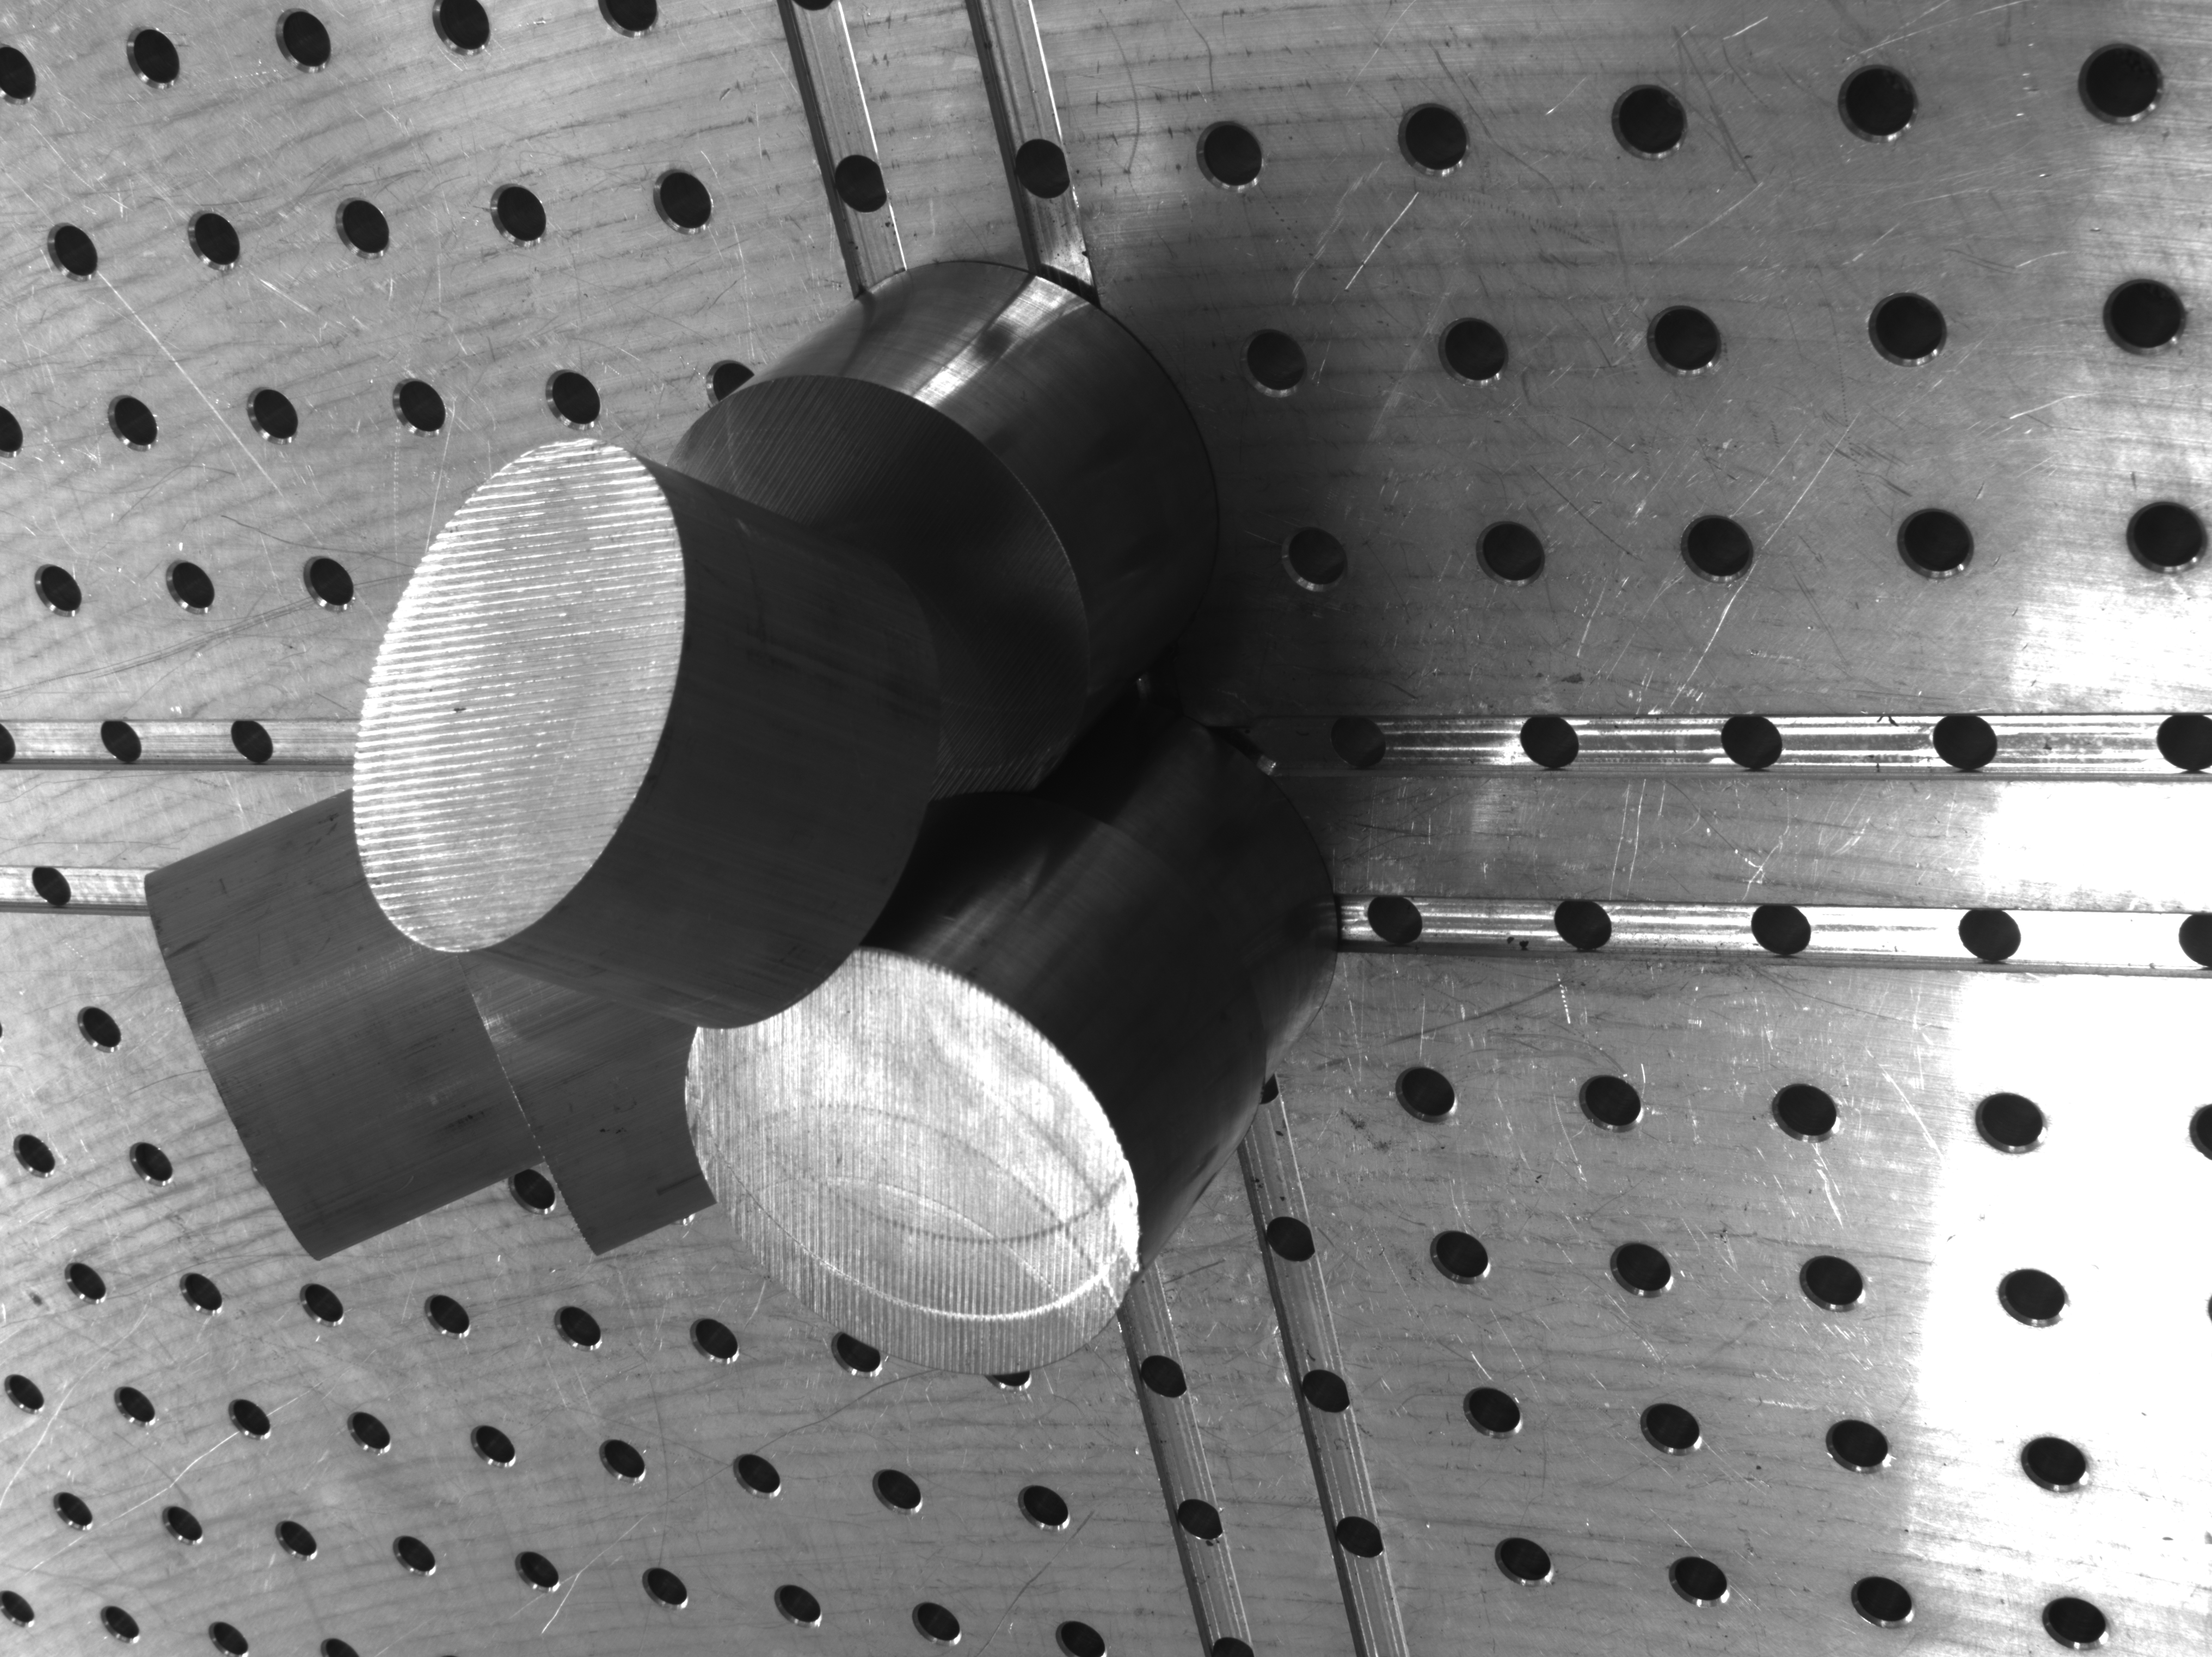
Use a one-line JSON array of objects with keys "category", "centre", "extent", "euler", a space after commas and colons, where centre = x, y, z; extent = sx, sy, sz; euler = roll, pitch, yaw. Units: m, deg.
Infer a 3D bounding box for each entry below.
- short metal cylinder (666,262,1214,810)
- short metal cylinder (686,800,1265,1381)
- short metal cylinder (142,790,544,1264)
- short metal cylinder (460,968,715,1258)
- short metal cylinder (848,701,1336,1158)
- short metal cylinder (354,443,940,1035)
[{"category": "short metal cylinder", "centre": [-0.029, -0.048, 0.615], "extent": [0.080, 0.050, 0.080], "euler": [14, 124, 21]}, {"category": "short metal cylinder", "centre": [-0.021, 0.042, 0.599], "extent": [0.080, 0.050, 0.080], "euler": [13, 124, 21]}, {"category": "short metal cylinder", "centre": [-0.142, 0.036, 0.700], "extent": [0.050, 0.080, 0.080], "euler": [-24, 111, -7]}, {"category": "short metal cylinder", "centre": [-0.084, 0.031, 0.665], "extent": [0.050, 0.080, 0.080], "euler": [-23, 111, -7]}, {"category": "short metal cylinder", "centre": [-0.006, 0.024, 0.646], "extent": [0.080, 0.050, 0.080], "euler": [13, 124, 21]}, {"category": "short metal cylinder", "centre": [-0.071, -0.013, 0.567], "extent": [0.080, 0.080, 0.050], "euler": [-27, 147, 37]}]
